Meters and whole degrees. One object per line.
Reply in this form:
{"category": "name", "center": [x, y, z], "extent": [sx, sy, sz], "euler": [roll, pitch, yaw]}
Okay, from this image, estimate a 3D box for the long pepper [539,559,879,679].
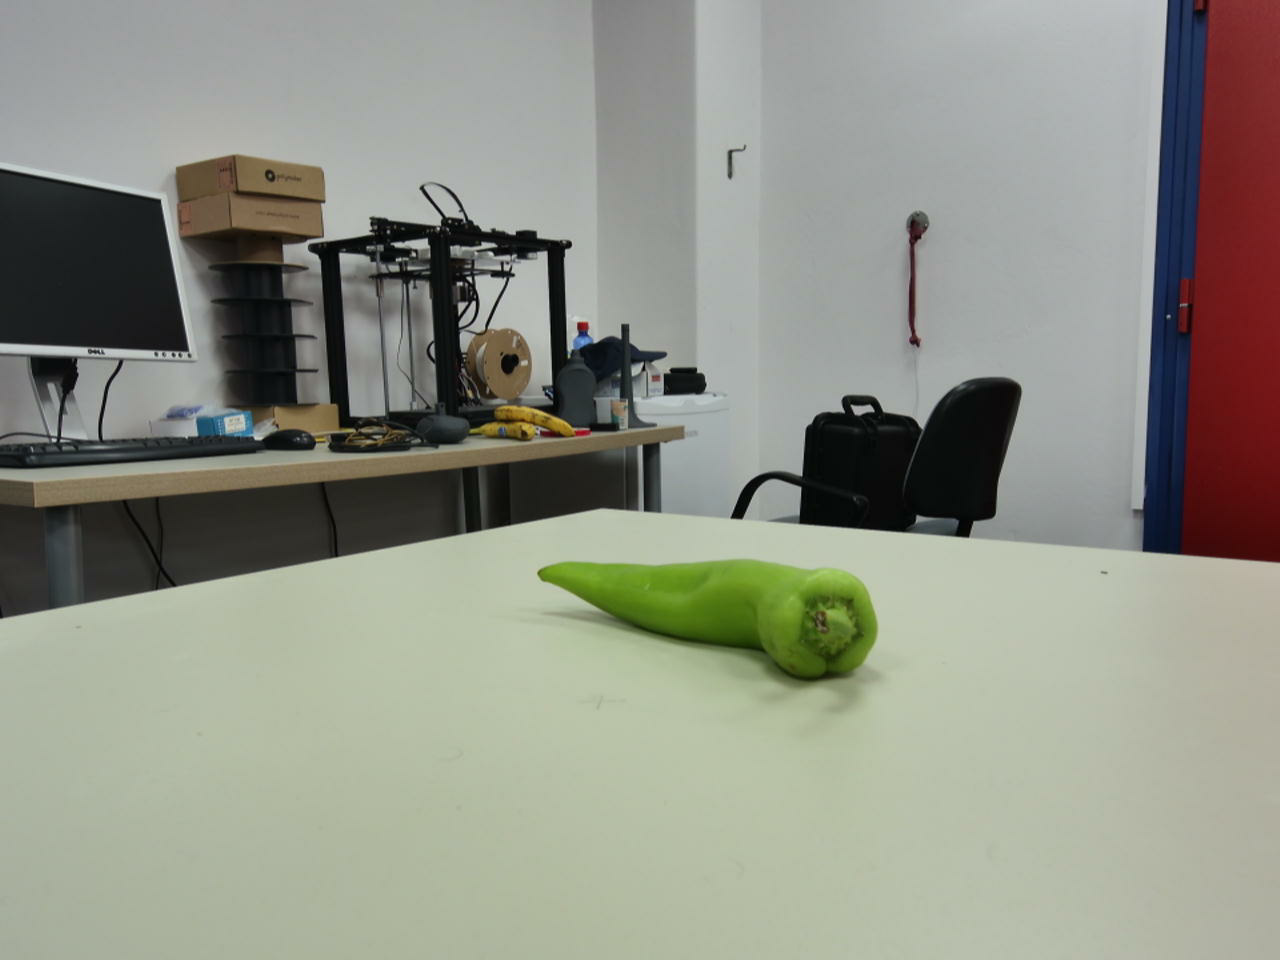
{"category": "long pepper", "center": [0.032, 0.055, 0.470], "extent": [0.065, 0.045, 0.205], "euler": [-2, 4, -36]}
